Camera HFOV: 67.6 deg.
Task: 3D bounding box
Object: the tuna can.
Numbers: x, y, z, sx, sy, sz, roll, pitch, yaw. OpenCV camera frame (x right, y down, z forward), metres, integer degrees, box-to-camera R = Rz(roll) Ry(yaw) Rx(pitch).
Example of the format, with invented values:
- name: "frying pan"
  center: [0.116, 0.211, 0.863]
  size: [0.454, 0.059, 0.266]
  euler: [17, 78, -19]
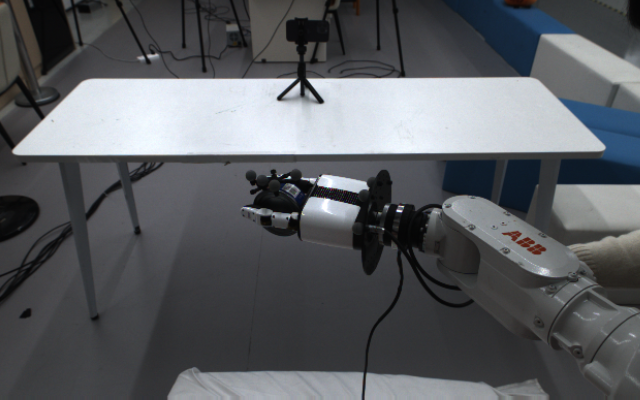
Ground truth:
- name: "tuna can"
  center: [-0.059, 0.012, 0.765]
  size: [0.085, 0.085, 0.034]
  euler: [14, 34, 17]
